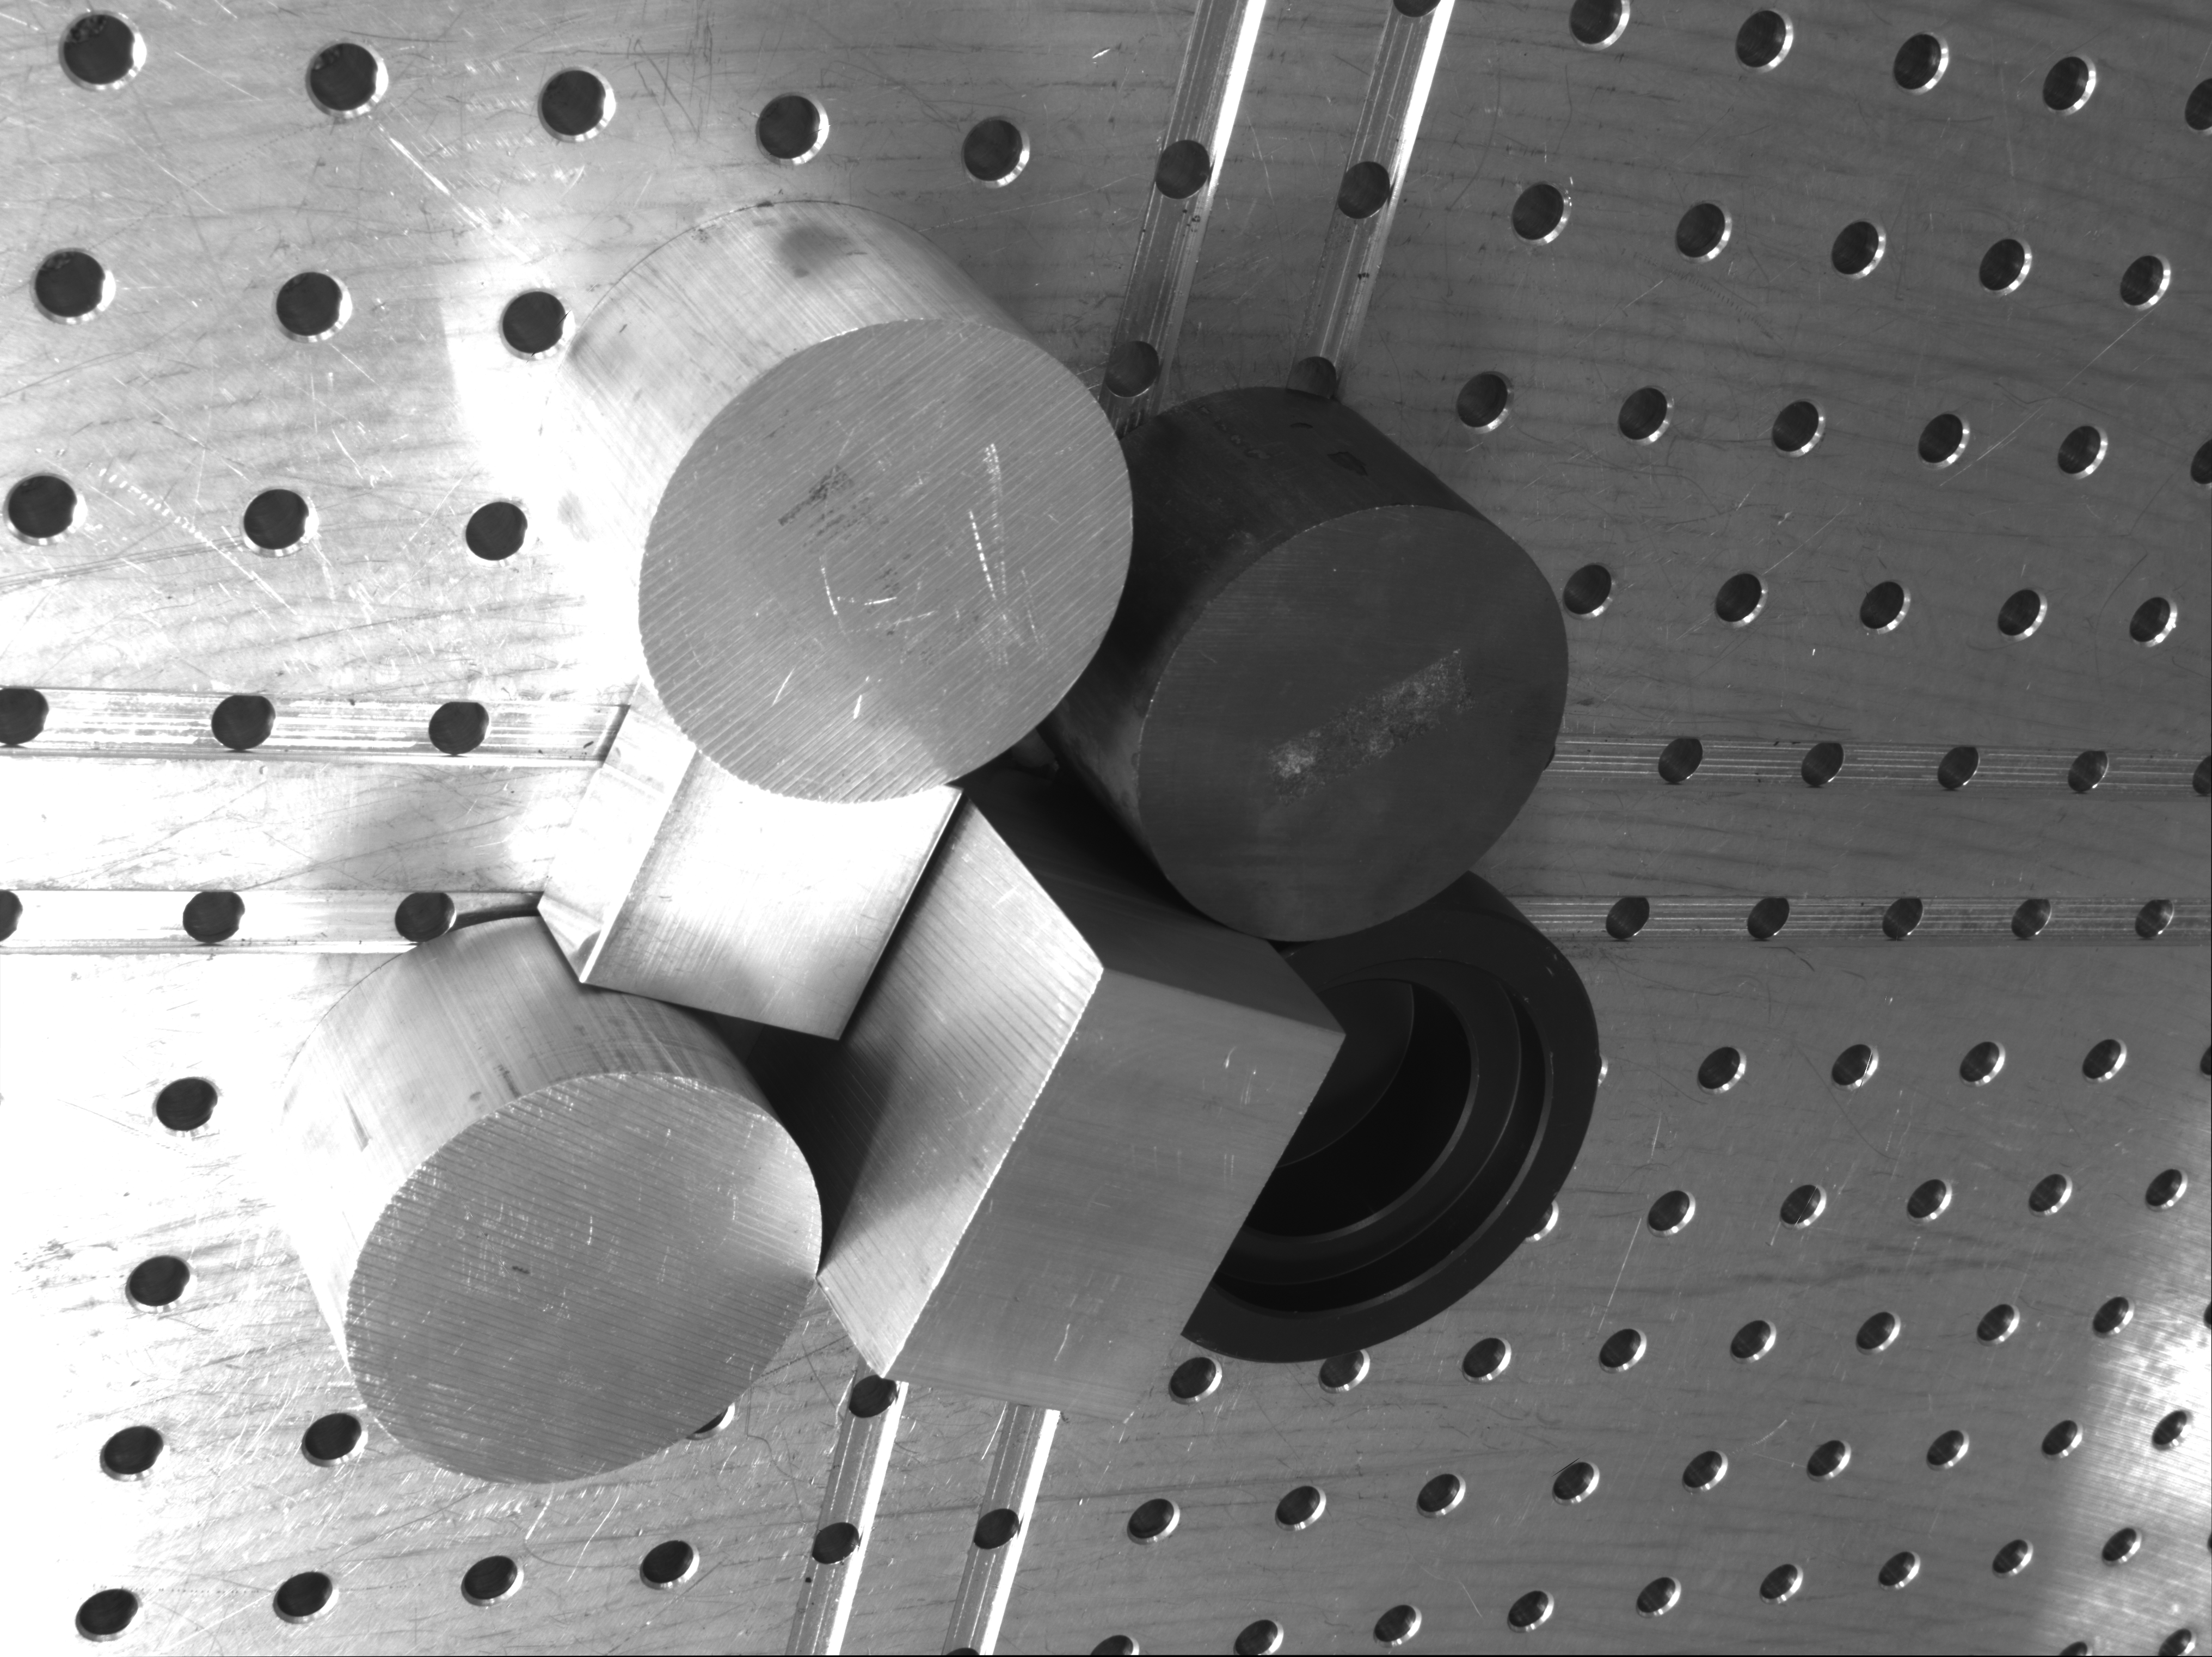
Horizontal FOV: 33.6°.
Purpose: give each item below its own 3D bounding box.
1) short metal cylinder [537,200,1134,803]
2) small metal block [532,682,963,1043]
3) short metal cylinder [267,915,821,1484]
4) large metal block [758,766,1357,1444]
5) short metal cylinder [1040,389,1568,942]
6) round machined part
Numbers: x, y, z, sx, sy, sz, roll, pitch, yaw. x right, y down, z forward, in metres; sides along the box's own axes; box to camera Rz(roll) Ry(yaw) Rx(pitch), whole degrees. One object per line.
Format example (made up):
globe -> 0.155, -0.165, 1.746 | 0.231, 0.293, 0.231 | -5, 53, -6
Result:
short metal cylinder -> -0.042, -0.051, 0.570 | 0.080, 0.050, 0.080 | -14, 124, -21
small metal block -> -0.060, 0.003, 0.610 | 0.050, 0.025, 0.050 | 16, 110, -34
short metal cylinder -> -0.094, 0.061, 0.611 | 0.080, 0.050, 0.080 | -14, 124, -21
large metal block -> -0.014, 0.044, 0.621 | 0.050, 0.080, 0.080 | 17, 109, -34
short metal cylinder -> 0.031, -0.028, 0.624 | 0.080, 0.050, 0.080 | -14, 124, -21
round machined part -> 0.038, 0.047, 0.678 | 0.098, 0.042, 0.098 | -14, 124, -21
